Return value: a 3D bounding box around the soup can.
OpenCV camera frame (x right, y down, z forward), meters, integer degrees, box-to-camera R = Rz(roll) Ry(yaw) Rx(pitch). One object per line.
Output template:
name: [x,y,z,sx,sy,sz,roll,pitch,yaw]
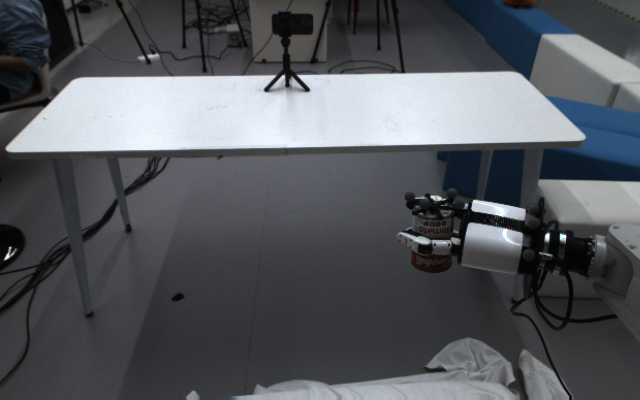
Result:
soup can: [0.186,0.058,0.797,0.067,0.101,0.067,-3,26,2]
